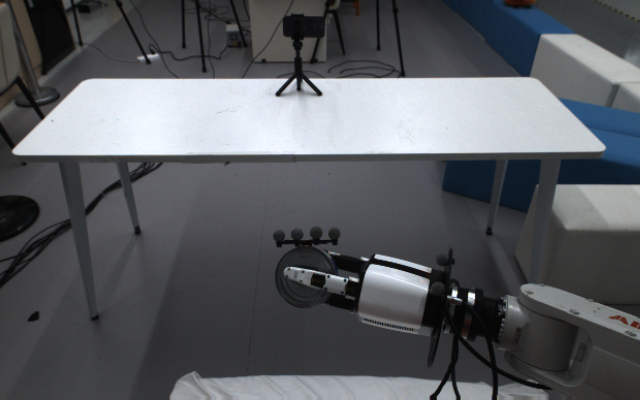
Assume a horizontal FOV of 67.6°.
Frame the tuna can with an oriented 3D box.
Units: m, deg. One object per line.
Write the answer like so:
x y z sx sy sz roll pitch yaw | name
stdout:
-0.015 0.111 0.674 0.085 0.085 0.034 10 -6 11 | tuna can
